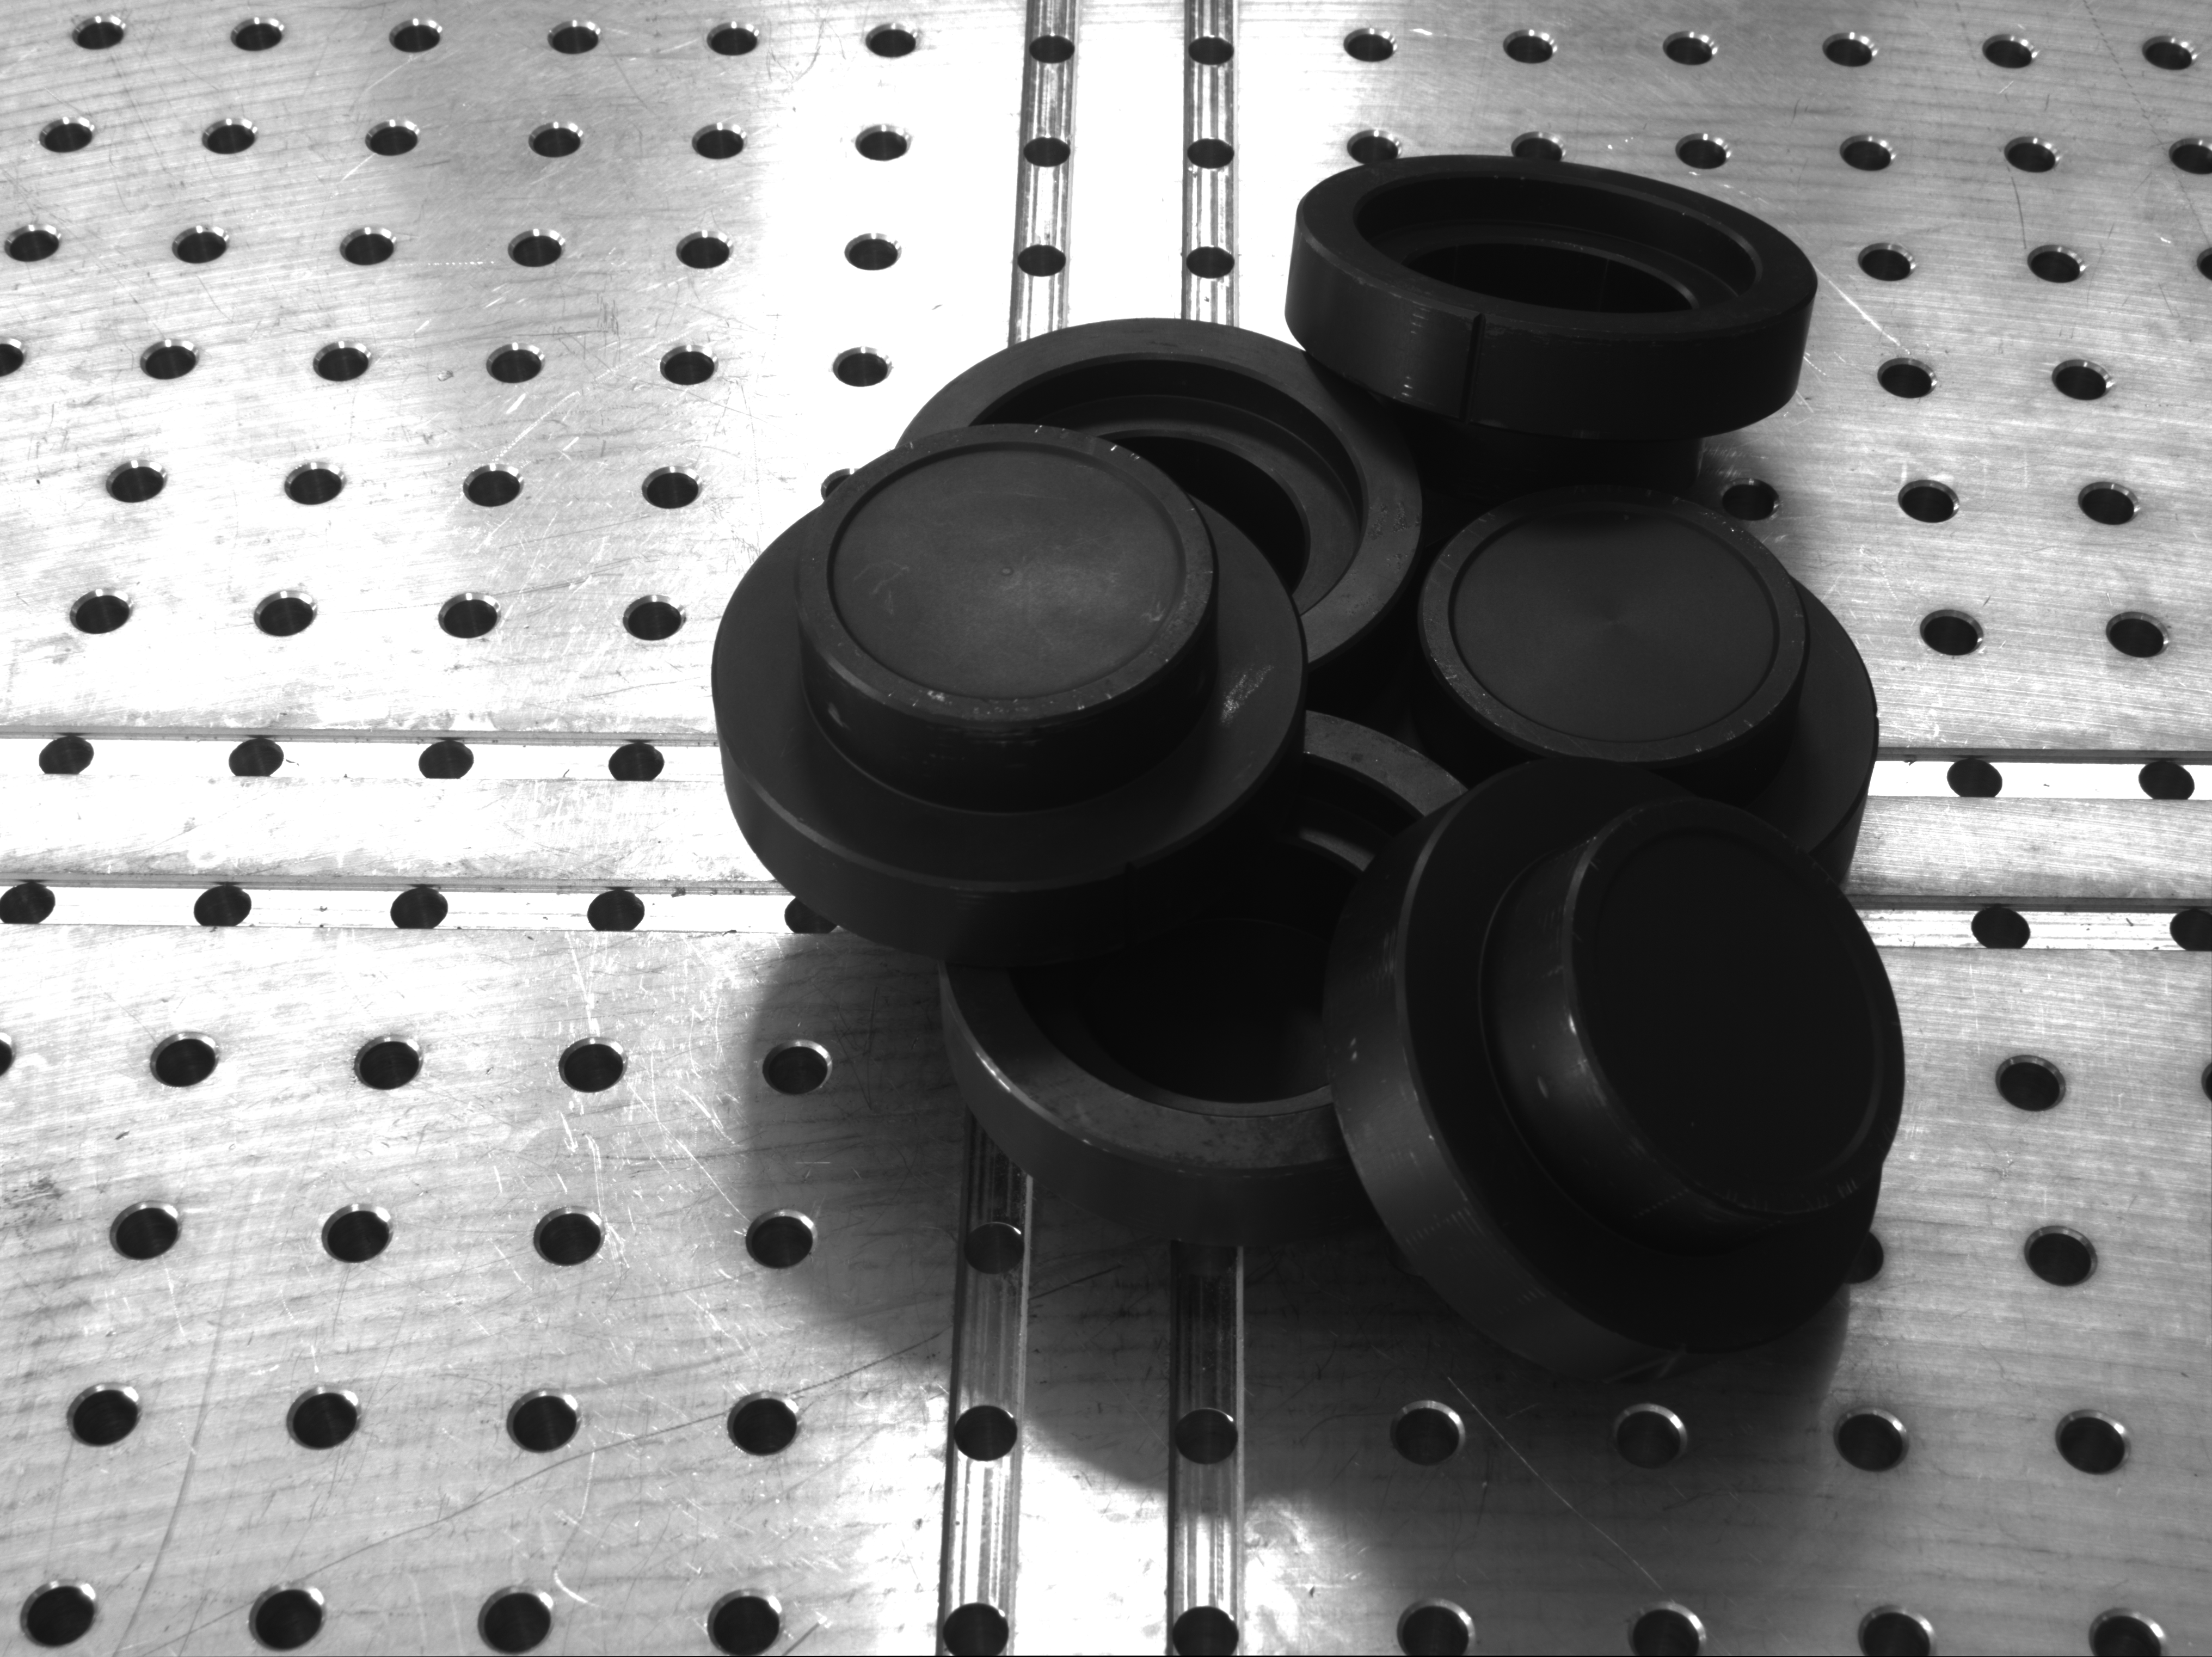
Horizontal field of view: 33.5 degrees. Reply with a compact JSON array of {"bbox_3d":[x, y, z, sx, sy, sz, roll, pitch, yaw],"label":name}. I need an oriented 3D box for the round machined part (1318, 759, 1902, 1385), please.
[{"bbox_3d":[0.085,0.034,0.574,0.098,0.042,0.098,15,61,-28],"label":"round machined part"}]

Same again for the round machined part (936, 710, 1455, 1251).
[{"bbox_3d":[0.021,0.030,0.609,0.098,0.042,0.098,0,50,0],"label":"round machined part"}]

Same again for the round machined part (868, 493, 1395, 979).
[{"bbox_3d":[0.001,-0.012,0.644,0.098,0.042,0.098,0,50,0],"label":"round machined part"}]

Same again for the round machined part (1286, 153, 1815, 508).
[{"bbox_3d":[0.082,-0.092,0.697,0.098,0.042,0.098,6,29,-3],"label":"round machined part"}]

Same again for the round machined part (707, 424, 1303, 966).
[{"bbox_3d":[-0.017,-0.028,0.603,0.098,0.042,0.098,0,50,0],"label":"round machined part"}]

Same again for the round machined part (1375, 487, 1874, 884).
[{"bbox_3d":[0.088,-0.023,0.653,0.098,0.042,0.098,0,50,0],"label":"round machined part"}]

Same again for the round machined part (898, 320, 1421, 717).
[{"bbox_3d":[0.008,-0.045,0.673,0.098,0.042,0.098,0,50,0],"label":"round machined part"}]
